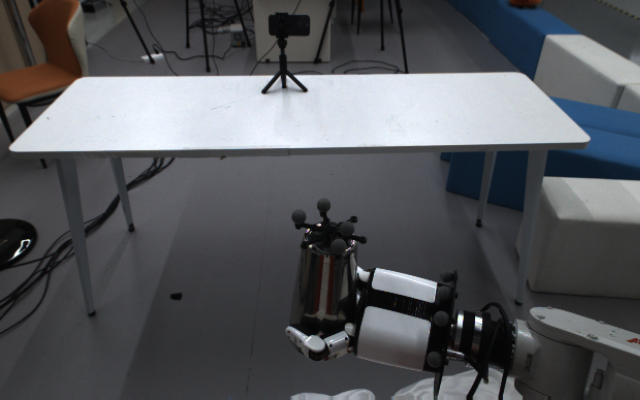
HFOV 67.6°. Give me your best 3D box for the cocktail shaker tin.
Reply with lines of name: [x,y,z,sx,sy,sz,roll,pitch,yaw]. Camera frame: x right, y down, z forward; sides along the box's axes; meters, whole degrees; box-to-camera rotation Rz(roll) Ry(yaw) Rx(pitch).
cocktail shaker tin: [0.008,0.114,0.623,0.093,0.170,0.093,3,34,-2]
